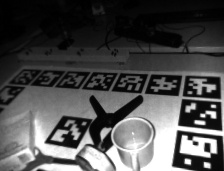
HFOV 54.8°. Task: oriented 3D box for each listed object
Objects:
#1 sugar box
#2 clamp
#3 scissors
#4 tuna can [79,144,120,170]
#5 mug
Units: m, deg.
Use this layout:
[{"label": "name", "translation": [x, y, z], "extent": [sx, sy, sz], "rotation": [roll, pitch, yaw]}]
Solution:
[{"label": "sugar box", "translation": [-0.254, 0.147, 0.575], "extent": [0.093, 0.046, 0.174], "rotation": [-21, 33, -8]}, {"label": "clamp", "translation": [-0.007, 0.096, 0.594], "extent": [0.164, 0.037, 0.202], "rotation": [-4, 41, 12]}, {"label": "scissors", "translation": [-0.157, 0.178, 0.534], "extent": [0.202, 0.016, 0.087], "rotation": [-4, 36, 10]}, {"label": "tuna can", "translation": [-0.028, 0.165, 0.461], "extent": [0.084, 0.086, 0.034], "rotation": [16, 48, 32]}, {"label": "mug", "translation": [0.044, 0.136, 0.481], "extent": [0.093, 0.082, 0.116], "rotation": [-15, 35, -1]}]
